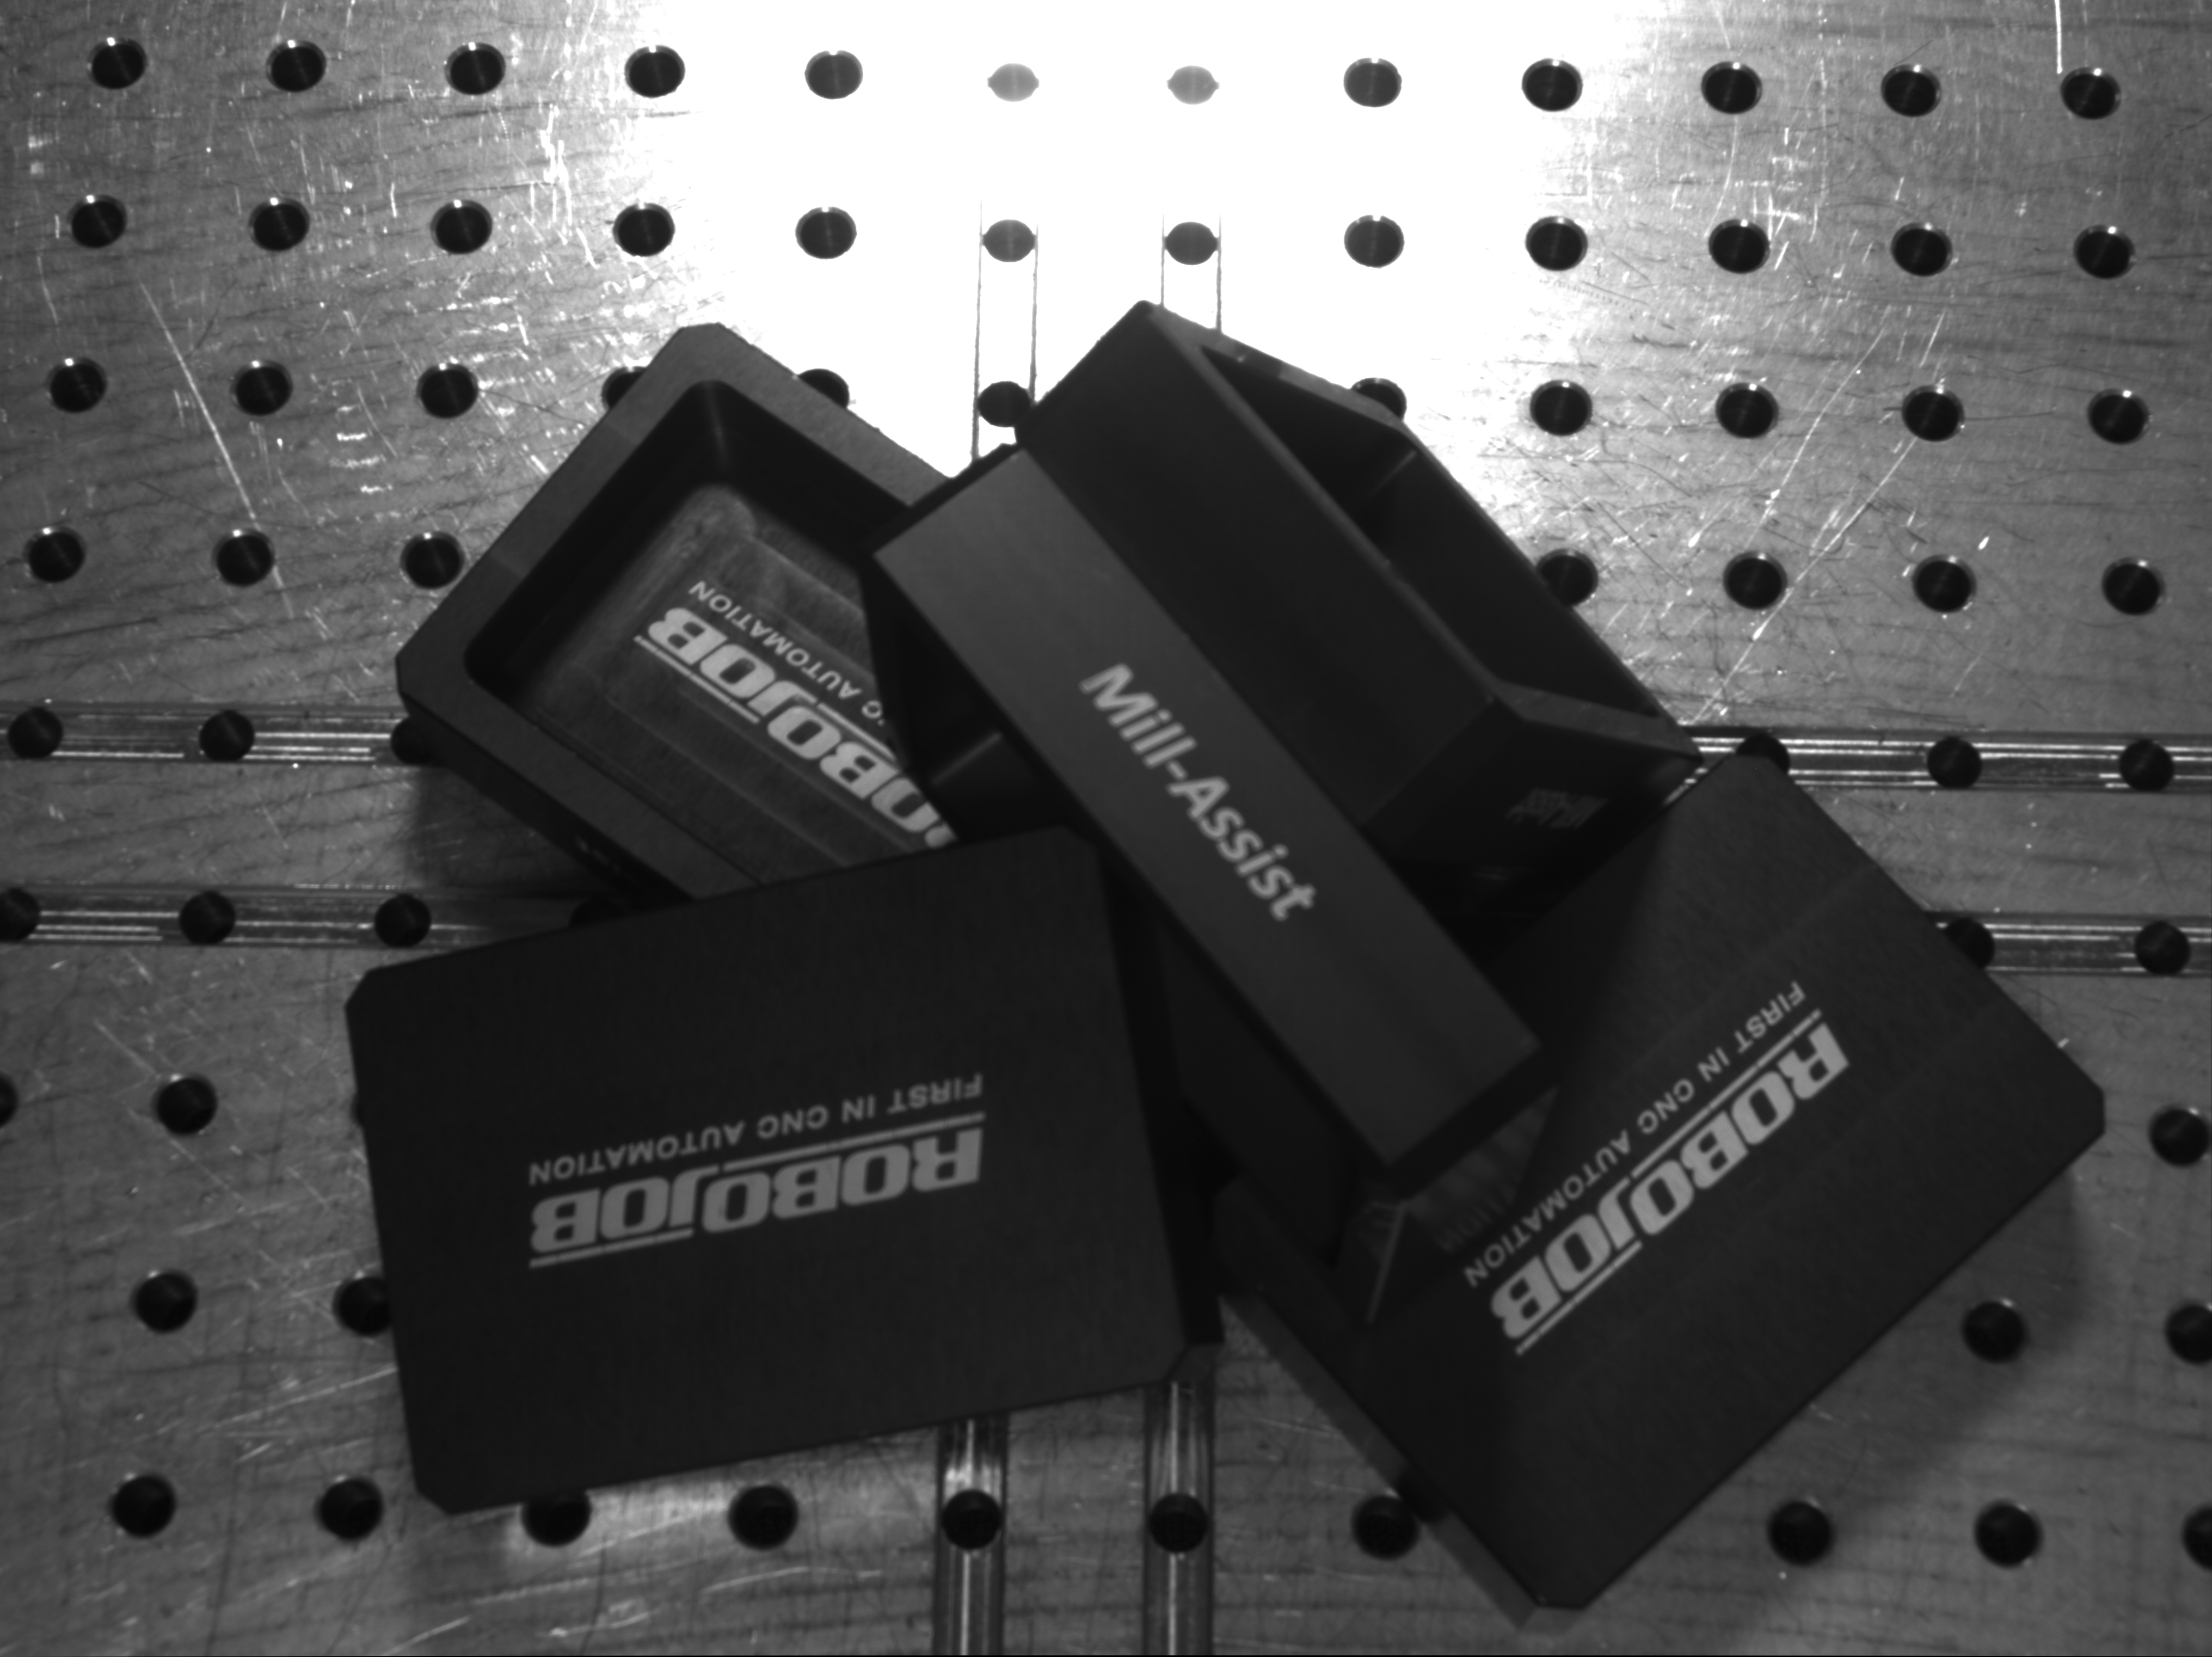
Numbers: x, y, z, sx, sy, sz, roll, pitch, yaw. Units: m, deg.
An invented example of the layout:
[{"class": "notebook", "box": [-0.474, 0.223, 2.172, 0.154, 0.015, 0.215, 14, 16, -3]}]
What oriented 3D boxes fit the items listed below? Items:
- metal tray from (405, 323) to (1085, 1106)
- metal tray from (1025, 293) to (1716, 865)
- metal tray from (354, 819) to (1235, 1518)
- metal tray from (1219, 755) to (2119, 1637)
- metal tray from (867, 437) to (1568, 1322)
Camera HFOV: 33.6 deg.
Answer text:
[{"class": "metal tray", "box": [-0.046, -0.019, 0.652, 0.130, 0.030, 0.090, 34, 73, 12]}, {"class": "metal tray", "box": [0.048, -0.037, 0.606, 0.030, 0.130, 0.090, -44, 74, 15]}, {"class": "metal tray", "box": [-0.052, 0.056, 0.598, 0.130, 0.030, 0.090, -12, 80, 11]}, {"class": "metal tray", "box": [0.094, 0.061, 0.621, 0.130, 0.030, 0.090, -39, 75, -13]}, {"class": "metal tray", "box": [0.015, 0.010, 0.576, 0.030, 0.090, 0.130, -36, 74, -12]}]
